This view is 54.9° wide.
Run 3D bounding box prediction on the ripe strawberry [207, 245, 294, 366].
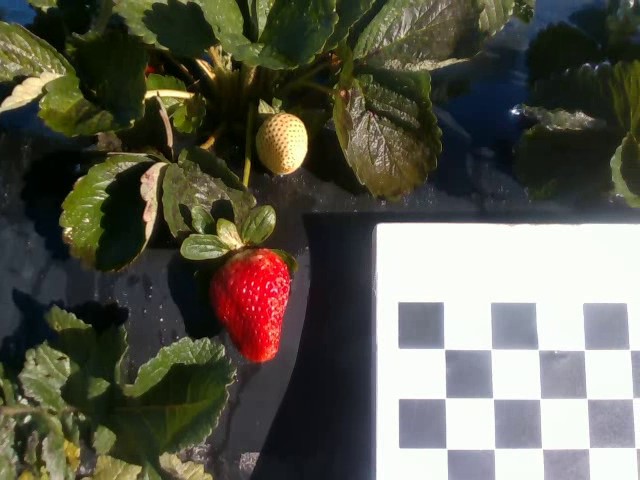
[{"bbox_3d":[-0.033,0.035,0.315,0.048,0.069,0.040,-17,-16,-4],"label":"ripe strawberry"}]
